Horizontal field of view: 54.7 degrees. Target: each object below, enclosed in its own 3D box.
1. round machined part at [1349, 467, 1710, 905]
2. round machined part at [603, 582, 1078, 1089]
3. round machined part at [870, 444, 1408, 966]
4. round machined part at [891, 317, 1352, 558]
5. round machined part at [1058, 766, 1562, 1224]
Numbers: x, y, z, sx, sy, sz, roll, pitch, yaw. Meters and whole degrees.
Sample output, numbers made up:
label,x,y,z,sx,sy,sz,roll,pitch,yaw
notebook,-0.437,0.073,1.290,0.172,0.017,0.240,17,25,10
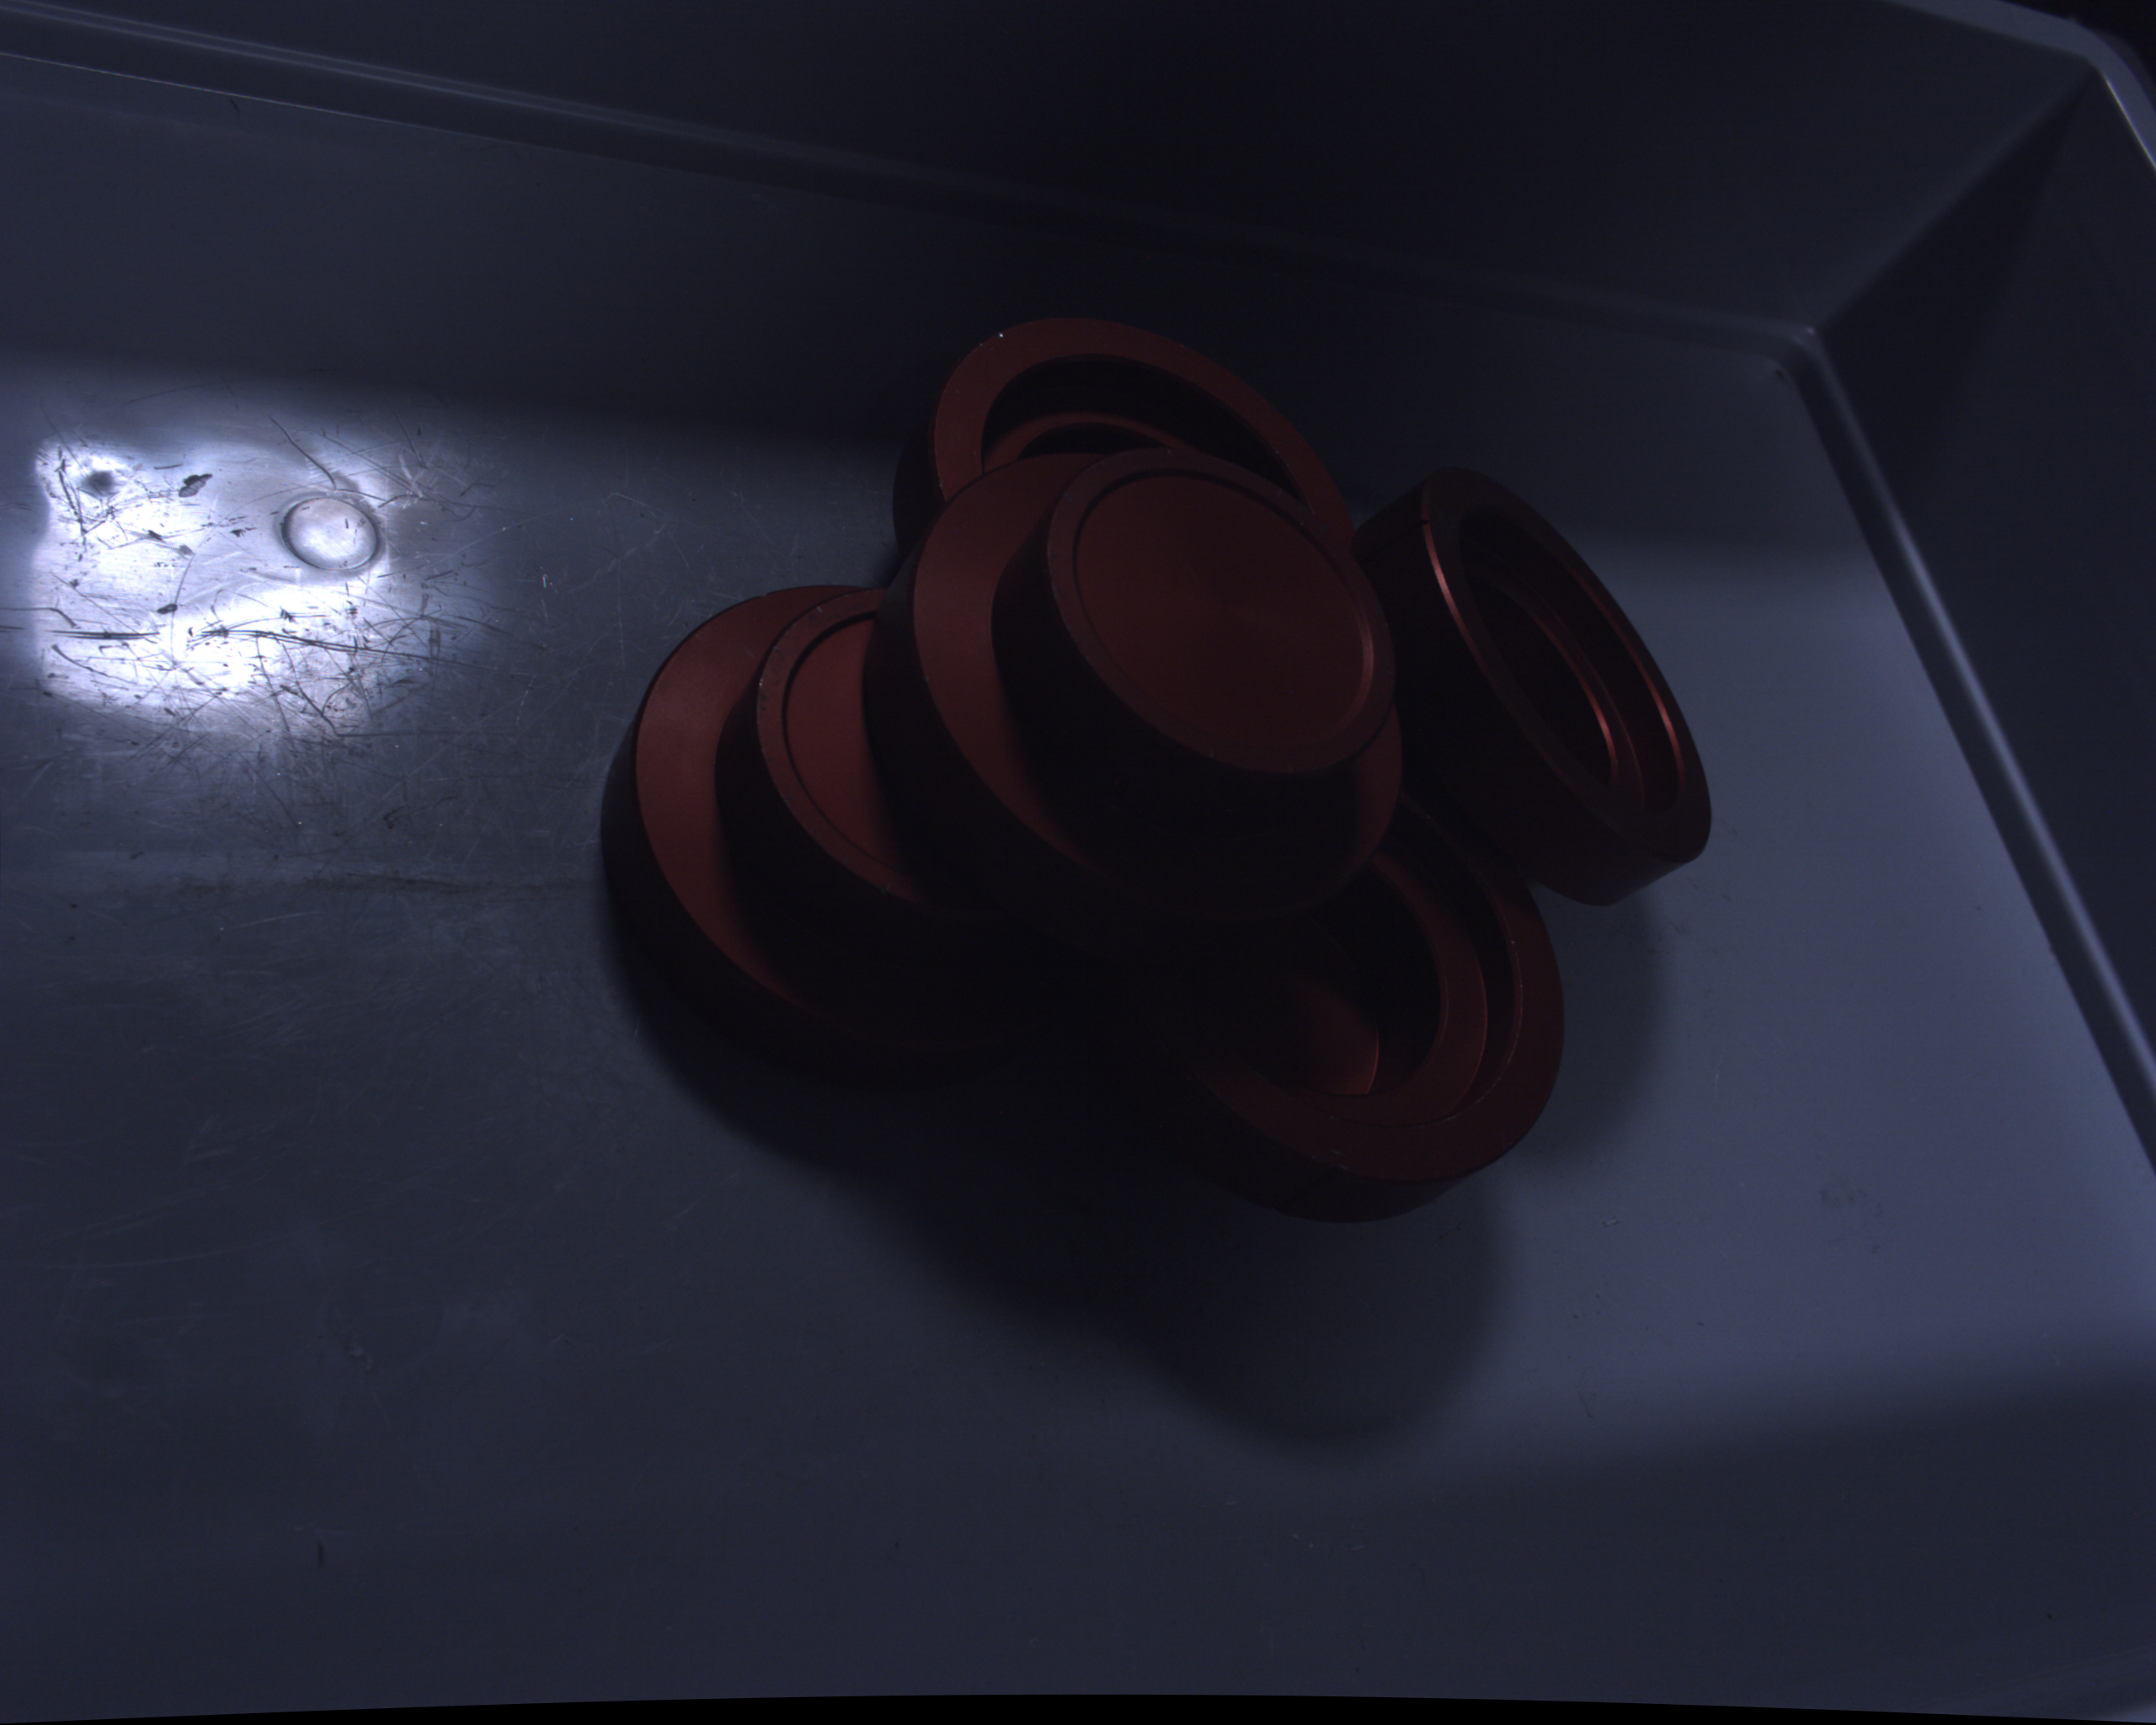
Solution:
label,x,y,z,sx,sy,sz,roll,pitch,yaw
round machined part,0.089,-0.033,0.449,0.098,0.042,0.098,32,39,-31
round machined part,-0.033,-0.012,0.381,0.099,0.042,0.098,14,56,-21
round machined part,0.017,-0.034,0.368,0.099,0.042,0.098,14,56,-21
round machined part,0.007,-0.063,0.436,0.099,0.042,0.098,14,56,-21
round machined part,0.040,0.023,0.402,0.099,0.042,0.098,14,56,-21
